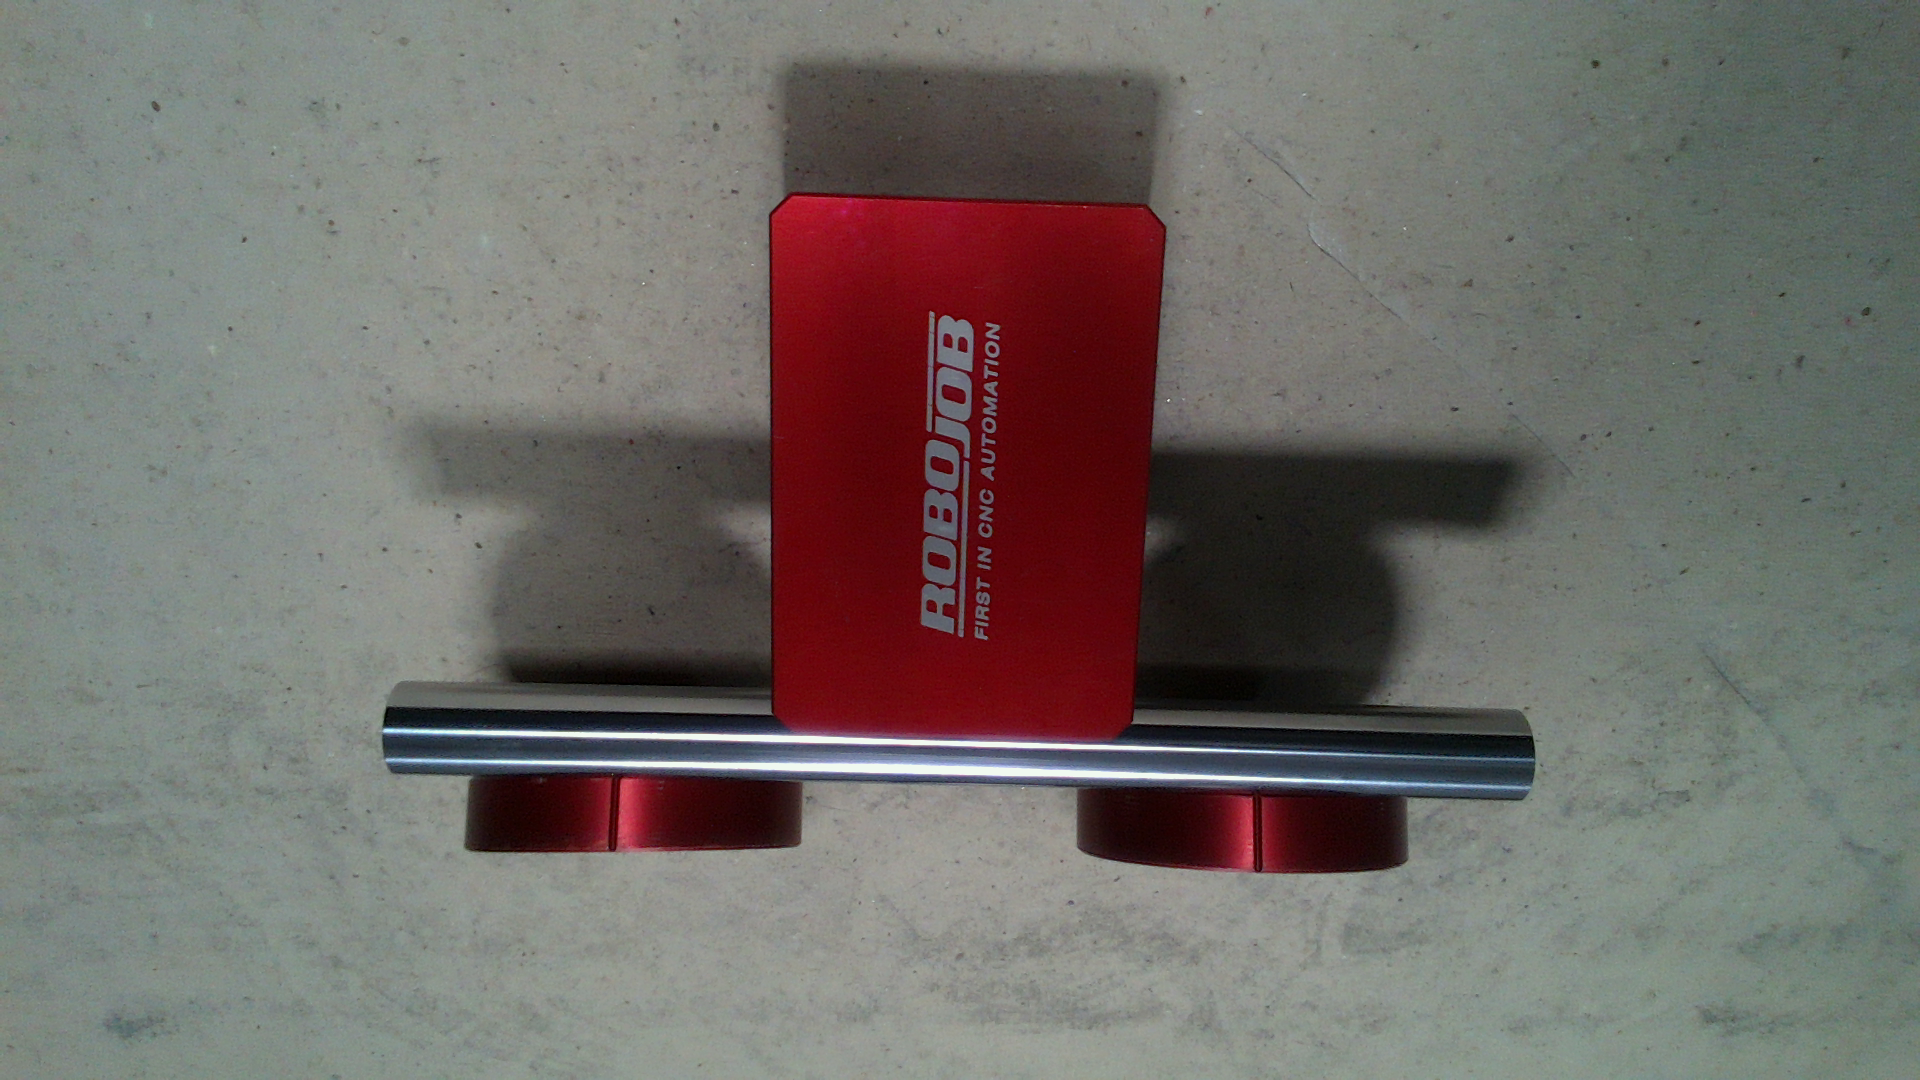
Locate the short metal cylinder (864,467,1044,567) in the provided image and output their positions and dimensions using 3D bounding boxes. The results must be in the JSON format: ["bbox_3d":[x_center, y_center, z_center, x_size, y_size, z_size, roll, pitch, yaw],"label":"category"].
[{"bbox_3d":[-0.003,0.025,0.396,0.080,0.050,0.080,0,130,0],"label":"short metal cylinder"}]

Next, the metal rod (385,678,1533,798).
[{"bbox_3d":[0.001,0.054,0.371,0.300,0.025,0.025,2,130,-2],"label":"metal rod"}]

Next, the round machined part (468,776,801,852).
[{"bbox_3d":[-0.098,0.072,0.419,0.098,0.042,0.098,-1,168,0],"label":"round machined part"}]

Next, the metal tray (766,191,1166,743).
[{"bbox_3d":[0.000,-0.017,0.337,0.090,0.030,0.130,1,104,-2],"label":"metal tray"}]

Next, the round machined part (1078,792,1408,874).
[{"bbox_3d":[0.085,0.075,0.420,0.098,0.042,0.098,0,173,0],"label":"round machined part"}]
